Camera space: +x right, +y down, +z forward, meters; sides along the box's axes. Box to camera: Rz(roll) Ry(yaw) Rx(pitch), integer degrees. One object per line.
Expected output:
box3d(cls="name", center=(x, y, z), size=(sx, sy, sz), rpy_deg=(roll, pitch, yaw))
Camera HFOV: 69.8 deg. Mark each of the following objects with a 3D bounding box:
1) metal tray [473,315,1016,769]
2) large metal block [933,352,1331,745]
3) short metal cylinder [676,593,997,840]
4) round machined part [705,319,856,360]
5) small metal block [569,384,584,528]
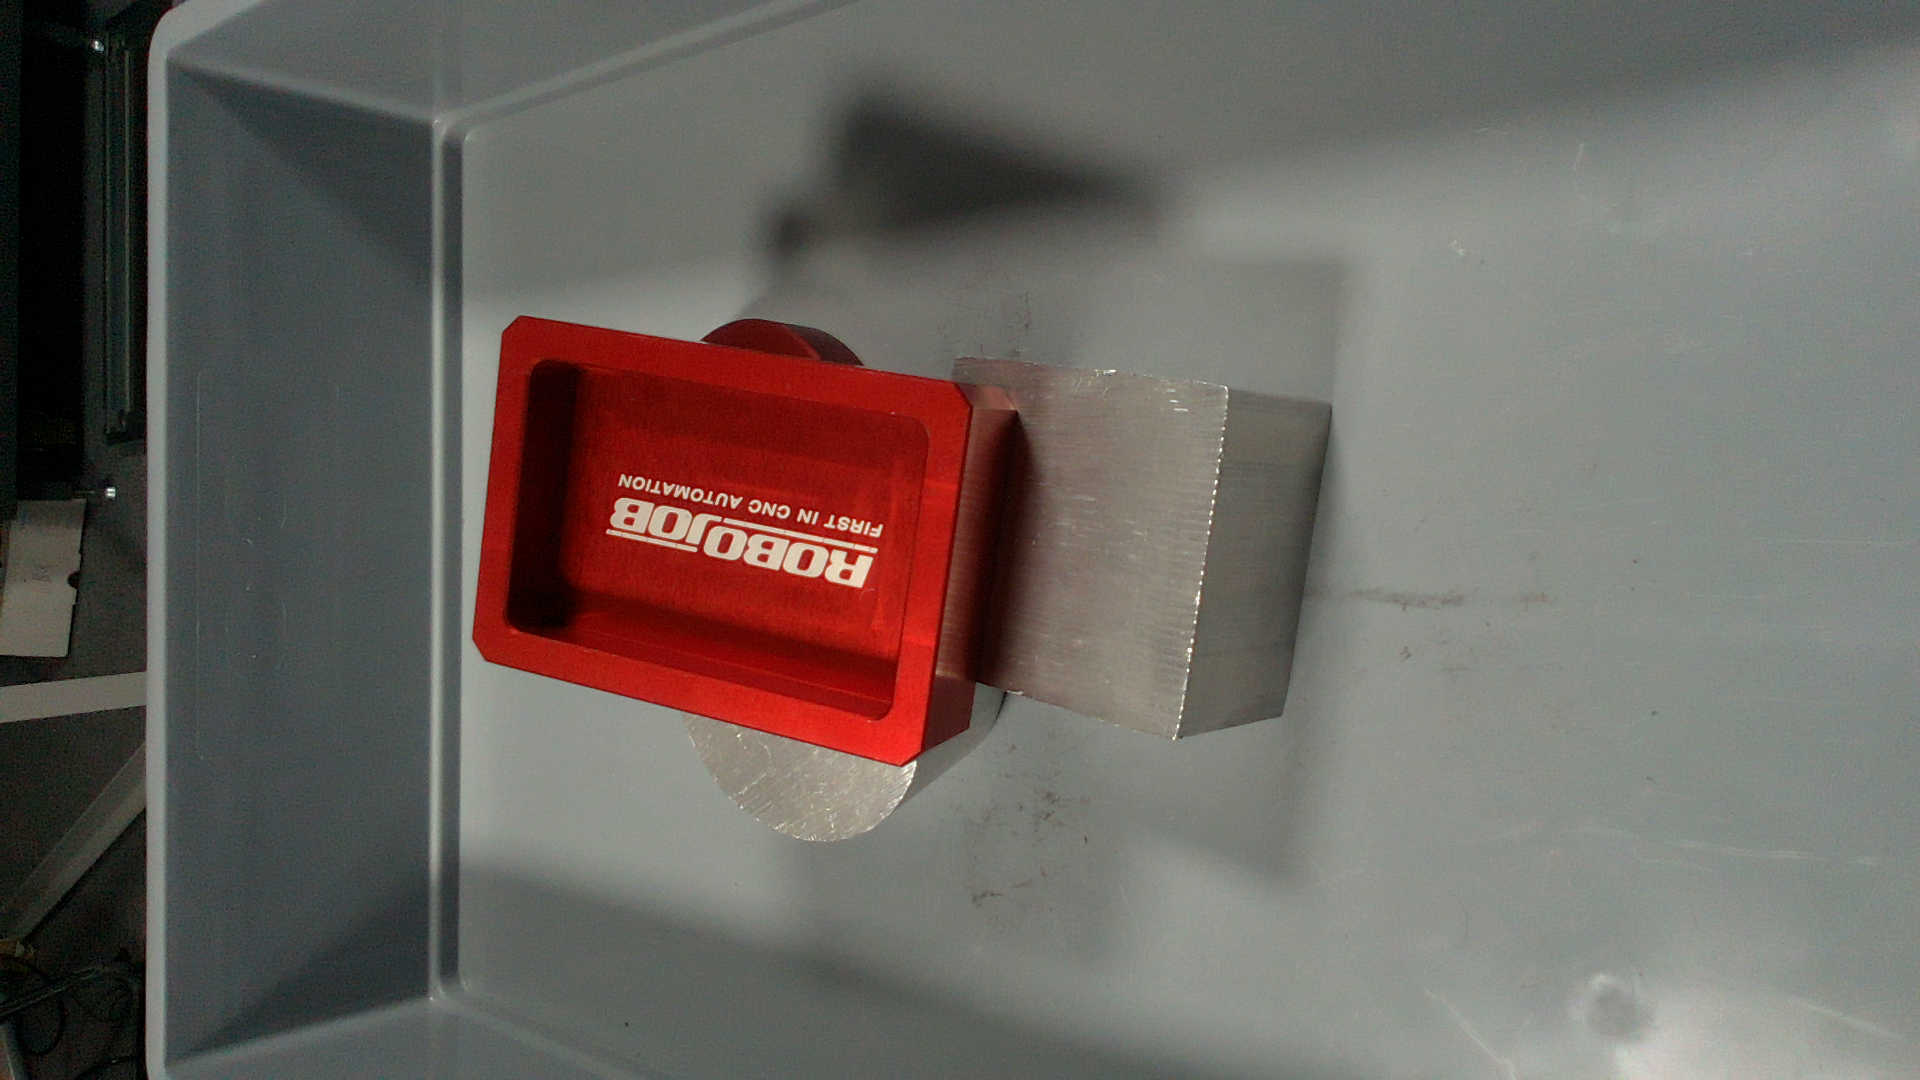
box3d(cls="metal tray", center=(-0.057, -0.003, 0.345), size=(0.130, 0.030, 0.090), rpy_deg=(11, 98, 20))
box3d(cls="large metal block", center=(0.038, -0.001, 0.343), size=(0.080, 0.050, 0.080), rpy_deg=(13, 98, 39))
box3d(cls="short metal cylinder", center=(-0.035, 0.038, 0.391), size=(0.080, 0.050, 0.080), rpy_deg=(7, 106, 27))
box3d(cls="round machined part", center=(-0.071, -0.022, 0.442), size=(0.098, 0.042, 0.098), rpy_deg=(0, 90, 40))
box3d(cls="small metal block", center=(-0.101, -0.022, 0.406), size=(0.025, 0.050, 0.050), rpy_deg=(16, 100, 39))
